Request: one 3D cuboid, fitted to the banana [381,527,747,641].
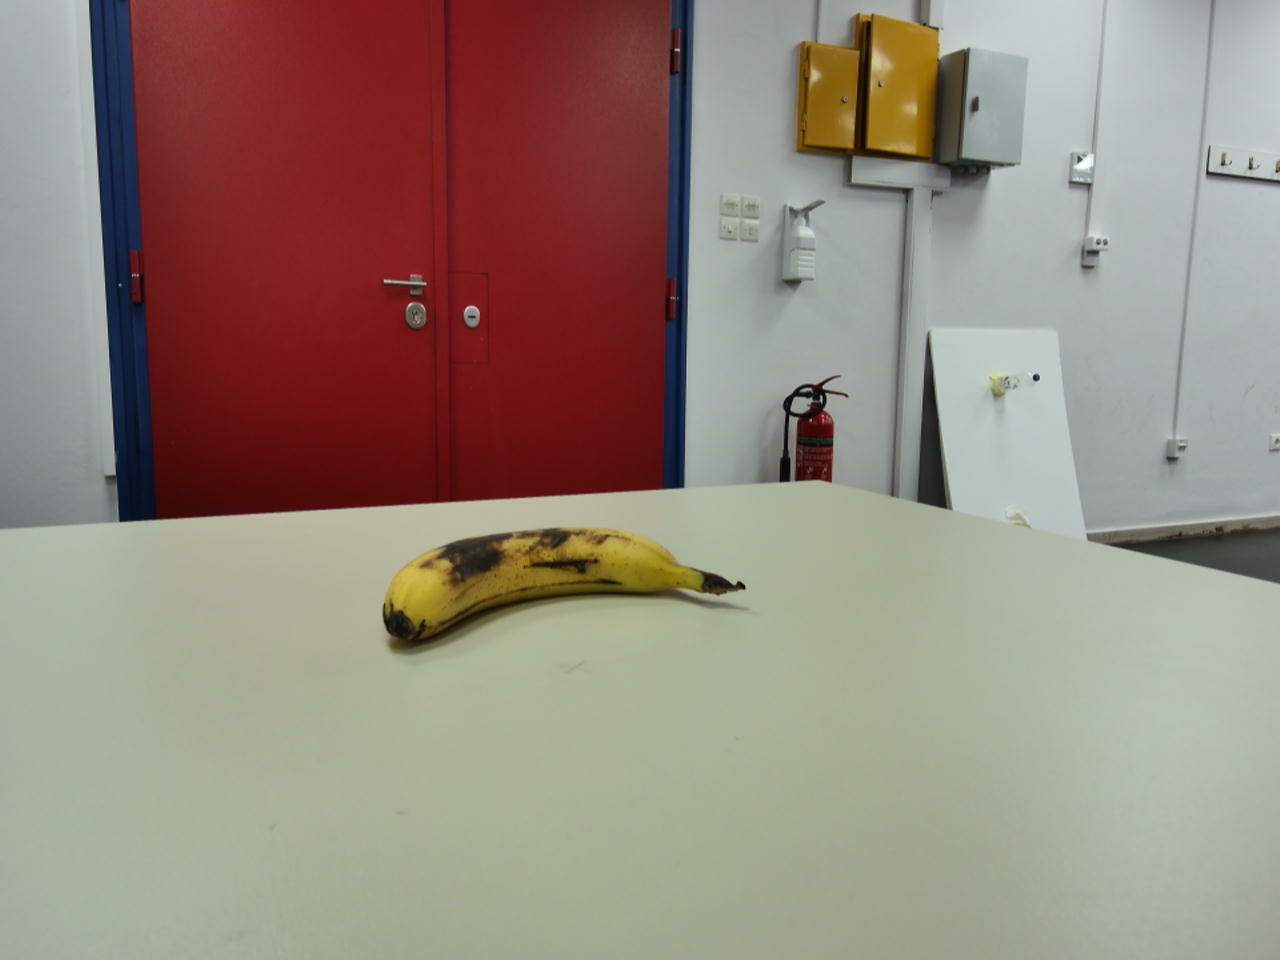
[{"bbox_3d":[-0.050,0.051,0.526,0.187,0.039,0.094,-3,7,-27],"label":"banana"}]
